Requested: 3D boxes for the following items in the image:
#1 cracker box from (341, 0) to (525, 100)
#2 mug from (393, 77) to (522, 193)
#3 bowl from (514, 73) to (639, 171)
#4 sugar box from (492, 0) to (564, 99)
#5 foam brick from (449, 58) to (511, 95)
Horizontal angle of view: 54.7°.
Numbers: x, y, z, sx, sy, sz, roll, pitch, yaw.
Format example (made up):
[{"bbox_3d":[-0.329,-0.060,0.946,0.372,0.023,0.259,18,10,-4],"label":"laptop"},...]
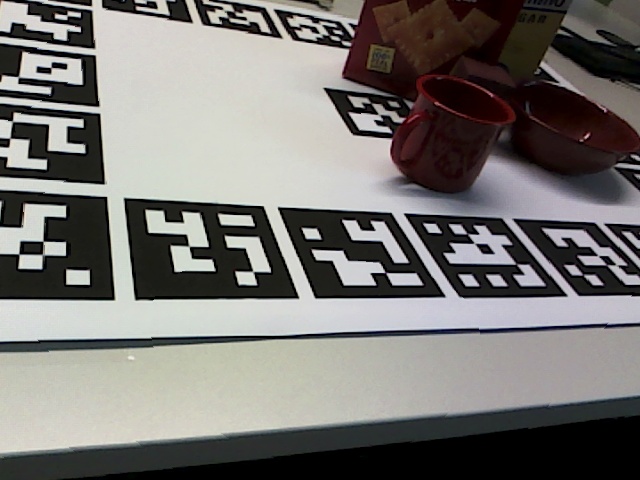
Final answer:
[{"bbox_3d":[0.135,-0.265,0.691,0.164,0.213,0.072,20,33,0],"label":"cracker box"},{"bbox_3d":[0.116,-0.094,0.562,0.116,0.081,0.094,-7,35,-29],"label":"mug"},{"bbox_3d":[0.282,-0.125,0.690,0.161,0.055,0.162,12,37,-10],"label":"bowl"},{"bbox_3d":[0.227,-0.258,0.754,0.093,0.176,0.045,14,36,-6],"label":"sugar box"},{"bbox_3d":[0.160,-0.145,0.667,0.052,0.078,0.051,11,36,-11],"label":"foam brick"}]
